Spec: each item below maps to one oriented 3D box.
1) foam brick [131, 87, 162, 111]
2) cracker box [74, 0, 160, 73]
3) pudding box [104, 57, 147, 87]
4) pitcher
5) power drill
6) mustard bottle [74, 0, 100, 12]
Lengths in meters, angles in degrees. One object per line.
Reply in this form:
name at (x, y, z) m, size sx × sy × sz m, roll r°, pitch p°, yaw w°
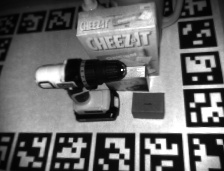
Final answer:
foam brick at (0.087, 0.036, 0.548) m, size 0.077 × 0.052 × 0.052 m, roll 0°, pitch 69°, yaw 13°
cracker box at (0.026, -0.100, 0.522) m, size 0.163 × 0.216 × 0.072 m, roll -5°, pitch 64°, yaw 14°
pudding box at (0.028, -0.033, 0.554) m, size 0.113 × 0.091 × 0.038 m, roll -3°, pitch 65°, yaw 15°
pitcher at (0.076, -0.197, 0.547) m, size 0.187 × 0.245 × 0.133 m, roll 3°, pitch 68°, yaw 17°
power drill at (-0.052, -0.001, 0.481) m, size 0.183 × 0.189 × 0.057 m, roll -4°, pitch 63°, yaw 11°
mustard bottle at (-0.051, -0.188, 0.583) m, size 0.095 × 0.193 × 0.058 m, roll 10°, pitch 71°, yaw 18°
